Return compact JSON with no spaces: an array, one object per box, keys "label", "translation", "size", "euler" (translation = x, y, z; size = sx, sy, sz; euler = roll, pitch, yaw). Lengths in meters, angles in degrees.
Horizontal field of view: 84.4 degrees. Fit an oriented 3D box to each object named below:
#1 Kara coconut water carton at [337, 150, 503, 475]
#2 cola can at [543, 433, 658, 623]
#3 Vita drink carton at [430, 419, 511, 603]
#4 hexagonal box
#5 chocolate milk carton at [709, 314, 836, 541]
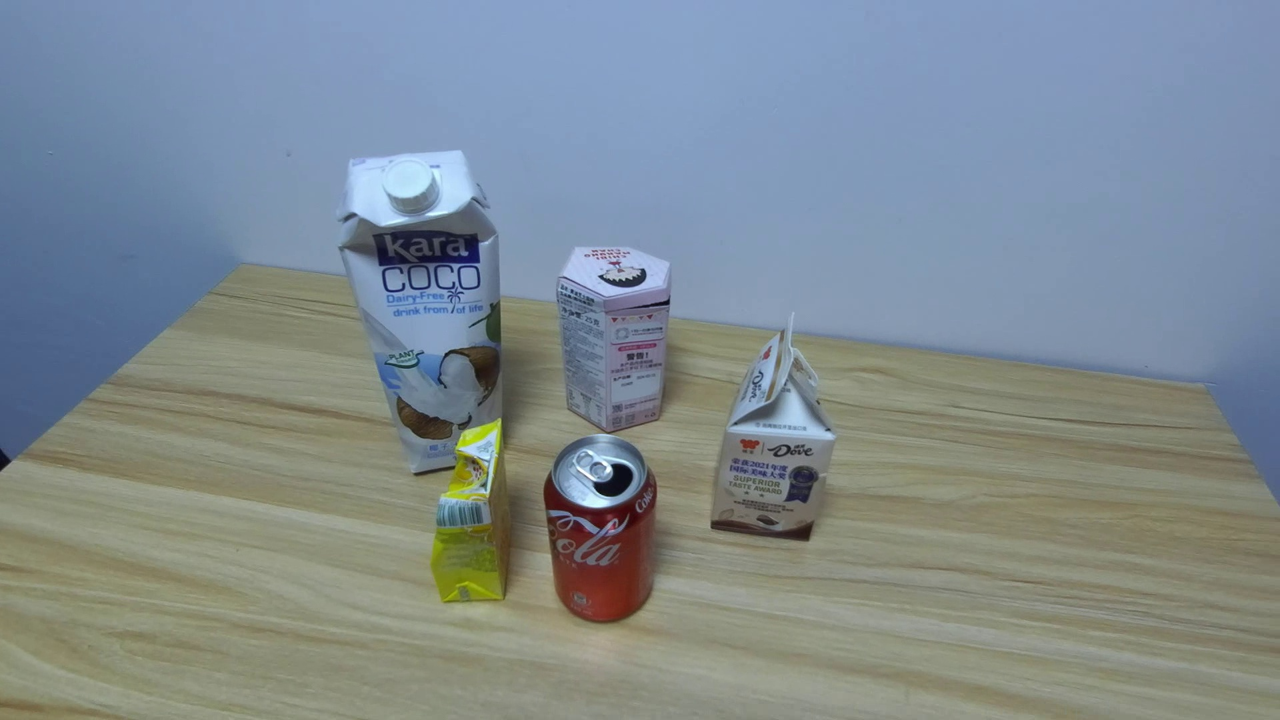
[{"label":"Kara coconut water carton","translation":[-0.141,-0.029,0.494],"size":[0.100,0.244,0.071],"euler":[-11,43,-13]},{"label":"cola can","translation":[-0.023,0.105,0.437],"size":[0.068,0.120,0.067],"euler":[0,41,0]},{"label":"Vita drink carton","translation":[-0.109,0.097,0.451],"size":[0.046,0.110,0.071],"euler":[0,39,-4]},{"label":"hexagonal box","translation":[-0.018,-0.018,0.564],"size":[0.092,0.135,0.084],"euler":[-12,42,-15]},{"label":"chocolate milk carton","translation":[0.093,0.044,0.479],"size":[0.073,0.155,0.084],"euler":[8,41,7]}]
